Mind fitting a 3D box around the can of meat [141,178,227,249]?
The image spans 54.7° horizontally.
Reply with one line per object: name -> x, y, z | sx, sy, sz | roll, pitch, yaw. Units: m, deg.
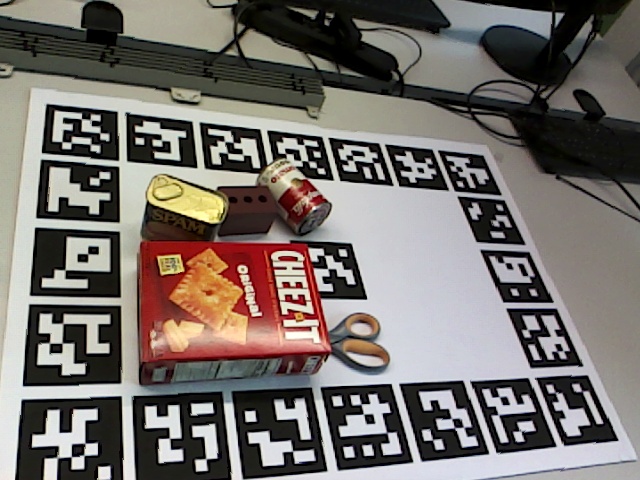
can of meat -> -0.184, -0.027, 0.823 | 0.101, 0.084, 0.058 | 15, 51, -14

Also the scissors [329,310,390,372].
scissors -> -0.005, 0.138, 0.808 | 0.202, 0.016, 0.088 | -2, 56, -24

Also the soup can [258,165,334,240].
soup can -> -0.038, -0.058, 0.935 | 0.102, 0.068, 0.067 | 40, 49, 16

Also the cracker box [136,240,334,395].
cracker box -> -0.108, 0.087, 0.761 | 0.212, 0.072, 0.165 | -4, 56, -22

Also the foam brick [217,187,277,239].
foam brick -> -0.109, -0.039, 0.891 | 0.077, 0.051, 0.053 | -7, 59, -28
